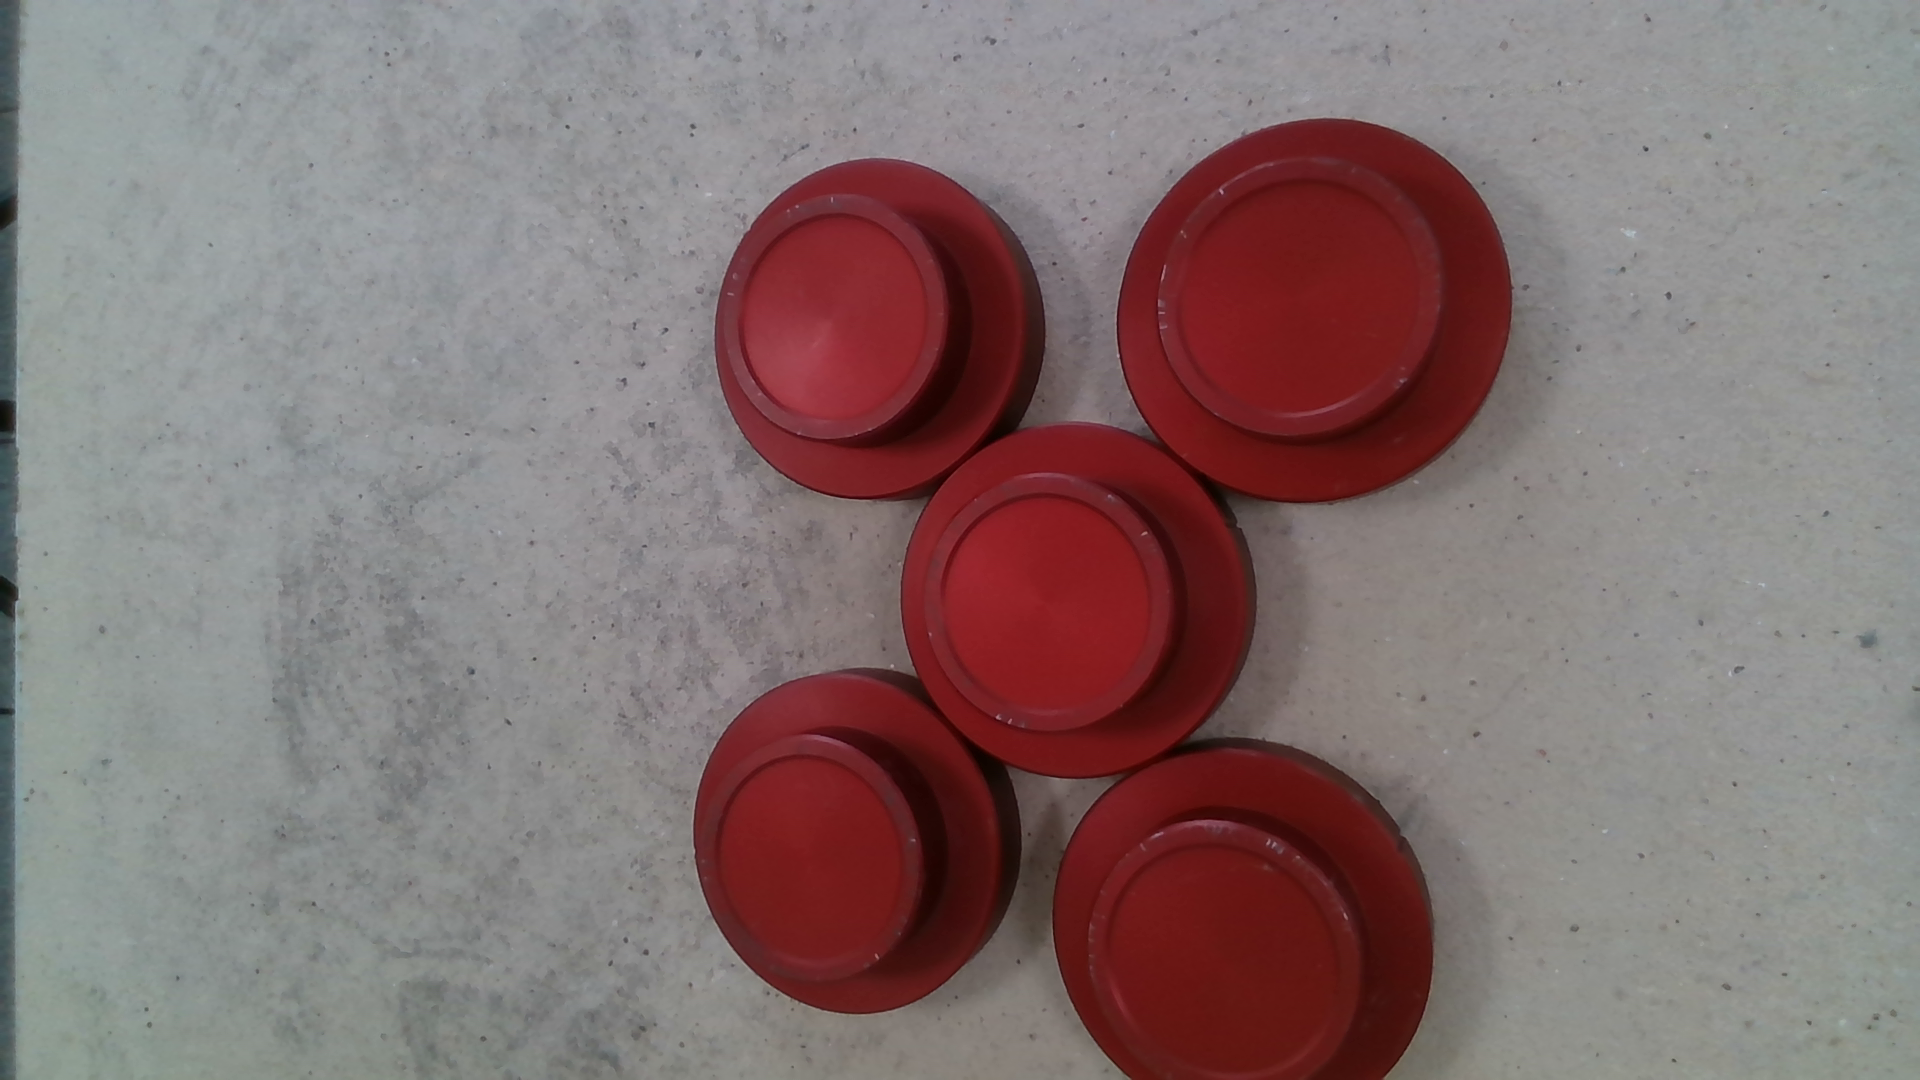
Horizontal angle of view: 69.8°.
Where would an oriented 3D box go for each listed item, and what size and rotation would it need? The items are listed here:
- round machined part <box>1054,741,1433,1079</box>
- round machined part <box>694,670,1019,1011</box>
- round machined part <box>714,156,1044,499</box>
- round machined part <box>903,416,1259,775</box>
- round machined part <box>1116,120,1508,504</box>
[{"bbox_3d":[0.071,0.103,0.359,0.098,0.042,0.098,0,89,22],"label":"round machined part"},{"bbox_3d":[-0.036,0.088,0.399,0.098,0.042,0.098,0,89,22],"label":"round machined part"},{"bbox_3d":[-0.029,-0.061,0.395,0.098,0.042,0.098,0,91,21],"label":"round machined part"},{"bbox_3d":[0.029,0.015,0.375,0.098,0.042,0.098,0,89,22],"label":"round machined part"},{"bbox_3d":[0.088,-0.058,0.352,0.098,0.042,0.098,0,90,20],"label":"round machined part"}]
